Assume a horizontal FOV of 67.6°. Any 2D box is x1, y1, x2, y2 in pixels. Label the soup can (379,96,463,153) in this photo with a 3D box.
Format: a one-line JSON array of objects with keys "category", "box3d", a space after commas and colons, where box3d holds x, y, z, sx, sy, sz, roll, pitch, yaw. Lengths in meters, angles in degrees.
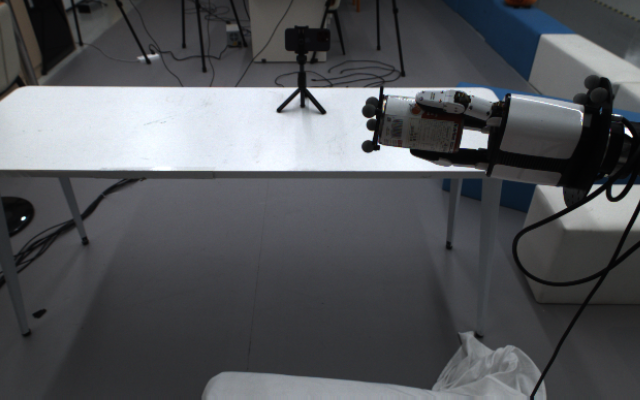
[{"category": "soup can", "box3d": [0.134, -0.100, 0.633, 0.101, 0.067, 0.067, 8, 35, 9]}]
